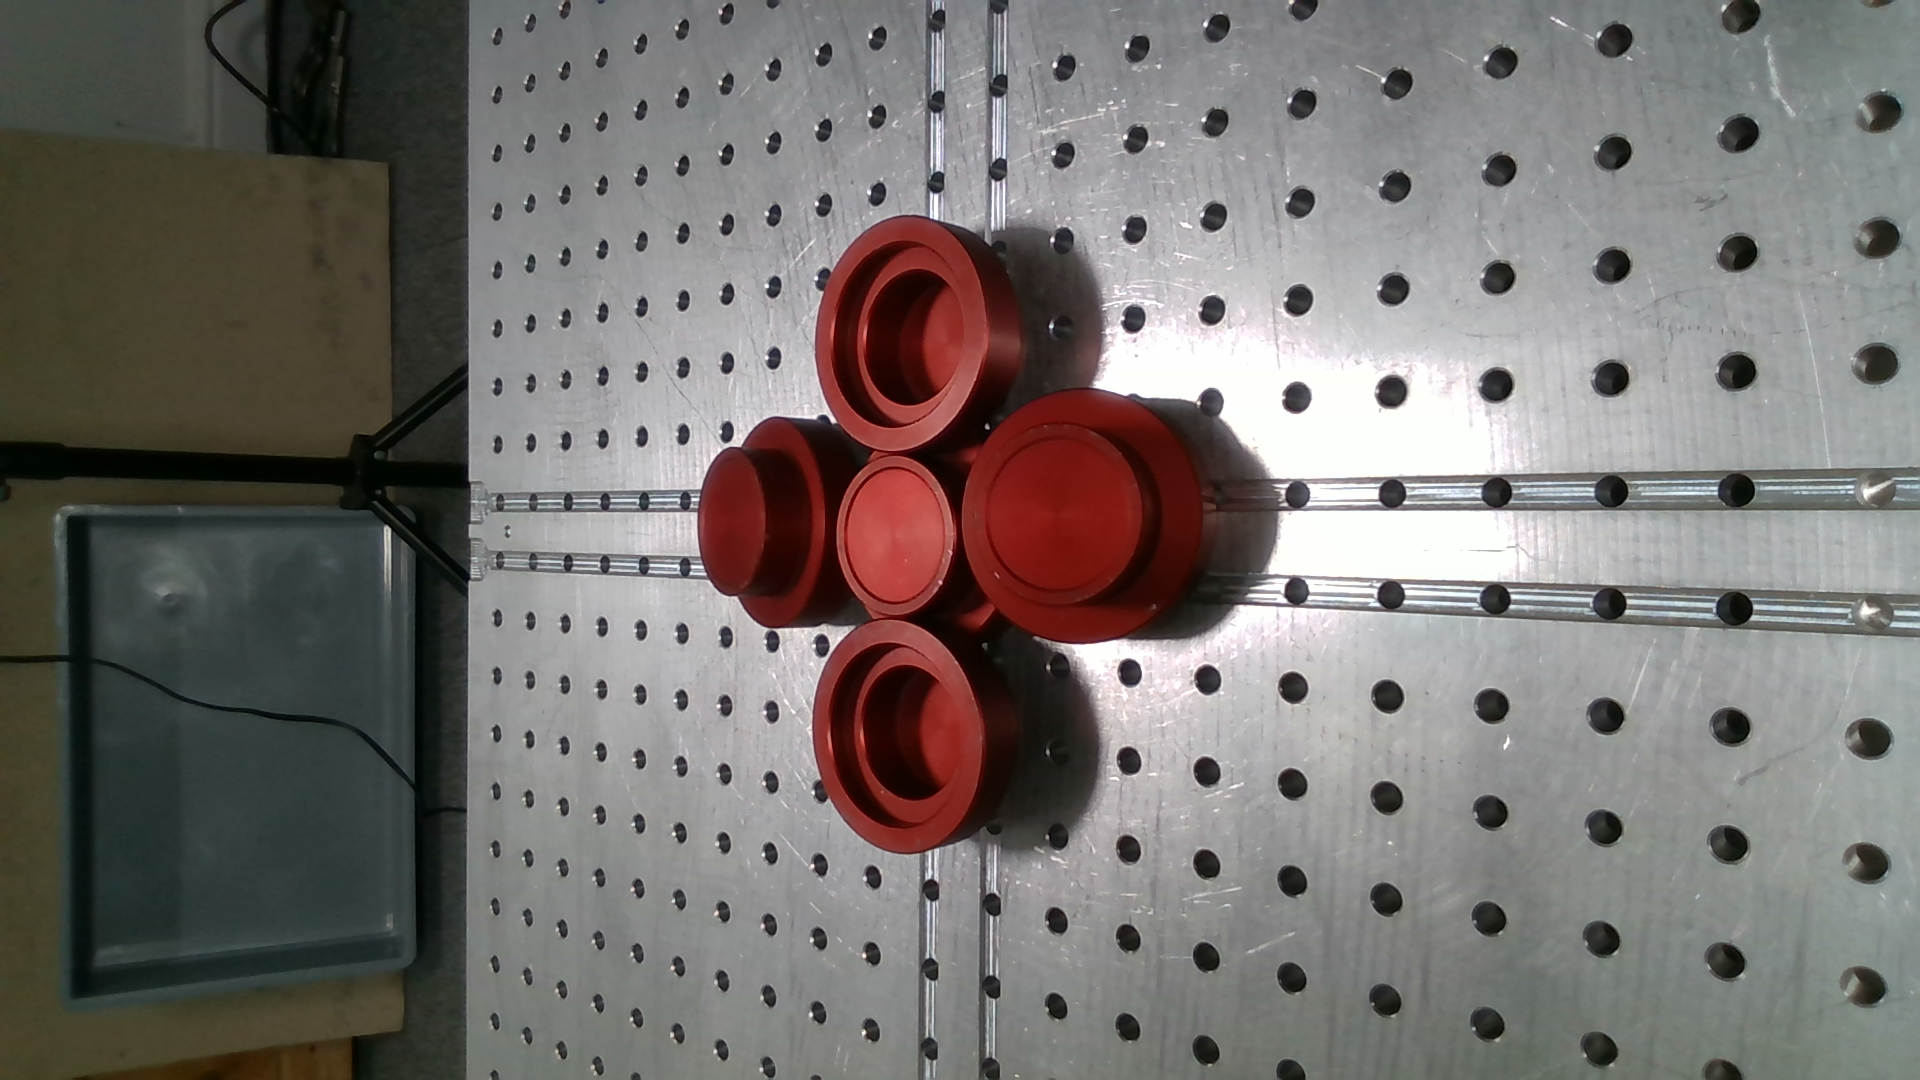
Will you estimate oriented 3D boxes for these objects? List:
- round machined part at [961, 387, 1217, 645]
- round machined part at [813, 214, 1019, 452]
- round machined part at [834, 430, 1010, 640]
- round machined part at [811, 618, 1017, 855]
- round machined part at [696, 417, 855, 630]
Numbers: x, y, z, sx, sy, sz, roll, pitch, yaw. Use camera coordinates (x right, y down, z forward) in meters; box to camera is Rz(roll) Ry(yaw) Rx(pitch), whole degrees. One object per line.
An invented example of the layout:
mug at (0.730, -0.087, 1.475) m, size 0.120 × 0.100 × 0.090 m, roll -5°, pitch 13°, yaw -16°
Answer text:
round machined part at (0.044, -0.009, 0.522) m, size 0.098 × 0.042 × 0.098 m, roll -1°, pitch 88°, yaw 26°
round machined part at (-0.014, -0.085, 0.584) m, size 0.098 × 0.042 × 0.098 m, roll 0°, pitch 91°, yaw 40°
round machined part at (-0.015, -0.002, 0.585) m, size 0.098 × 0.042 × 0.098 m, roll 0°, pitch 91°, yaw 40°
round machined part at (-0.015, 0.081, 0.587) m, size 0.098 × 0.042 × 0.098 m, roll 0°, pitch 91°, yaw 40°
round machined part at (-0.088, -0.008, 0.633) m, size 0.098 × 0.042 × 0.098 m, roll 0°, pitch 90°, yaw 55°
